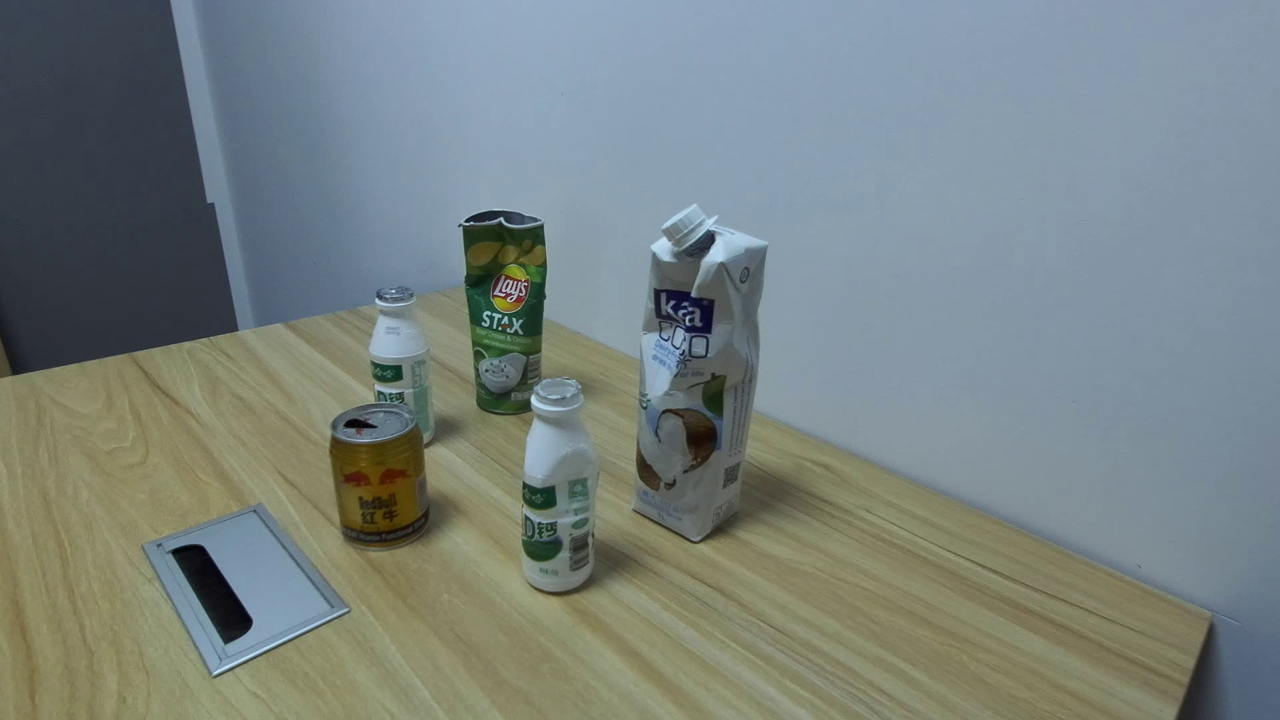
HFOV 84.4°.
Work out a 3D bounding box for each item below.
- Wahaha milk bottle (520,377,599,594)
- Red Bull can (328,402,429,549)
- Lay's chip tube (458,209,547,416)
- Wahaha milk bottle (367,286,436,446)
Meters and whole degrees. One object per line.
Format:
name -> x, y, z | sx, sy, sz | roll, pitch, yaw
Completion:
Wahaha milk bottle -> -0.057, 0.085, 0.479 | 0.055, 0.149, 0.055 | 1, 24, 0
Red Bull can -> -0.195, 0.087, 0.530 | 0.067, 0.093, 0.067 | 2, 23, 0
Lay's chip tube -> -0.136, -0.048, 0.715 | 0.077, 0.201, 0.069 | -6, 24, -15
Wahaha milk bottle -> -0.217, 0.008, 0.642 | 0.053, 0.147, 0.053 | 2, 22, -1
